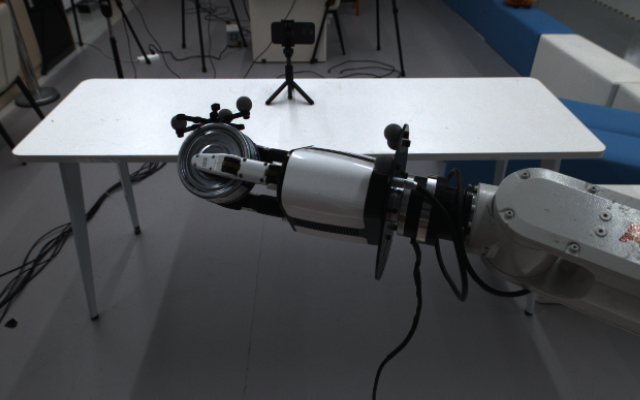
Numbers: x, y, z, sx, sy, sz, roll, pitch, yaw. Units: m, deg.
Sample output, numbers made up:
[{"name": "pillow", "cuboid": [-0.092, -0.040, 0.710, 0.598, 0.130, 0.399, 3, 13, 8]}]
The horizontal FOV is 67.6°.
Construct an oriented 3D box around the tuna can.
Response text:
[{"name": "tuna can", "cuboid": [-0.106, -0.035, 0.526, 0.085, 0.085, 0.034, 12, -6, 14]}]
